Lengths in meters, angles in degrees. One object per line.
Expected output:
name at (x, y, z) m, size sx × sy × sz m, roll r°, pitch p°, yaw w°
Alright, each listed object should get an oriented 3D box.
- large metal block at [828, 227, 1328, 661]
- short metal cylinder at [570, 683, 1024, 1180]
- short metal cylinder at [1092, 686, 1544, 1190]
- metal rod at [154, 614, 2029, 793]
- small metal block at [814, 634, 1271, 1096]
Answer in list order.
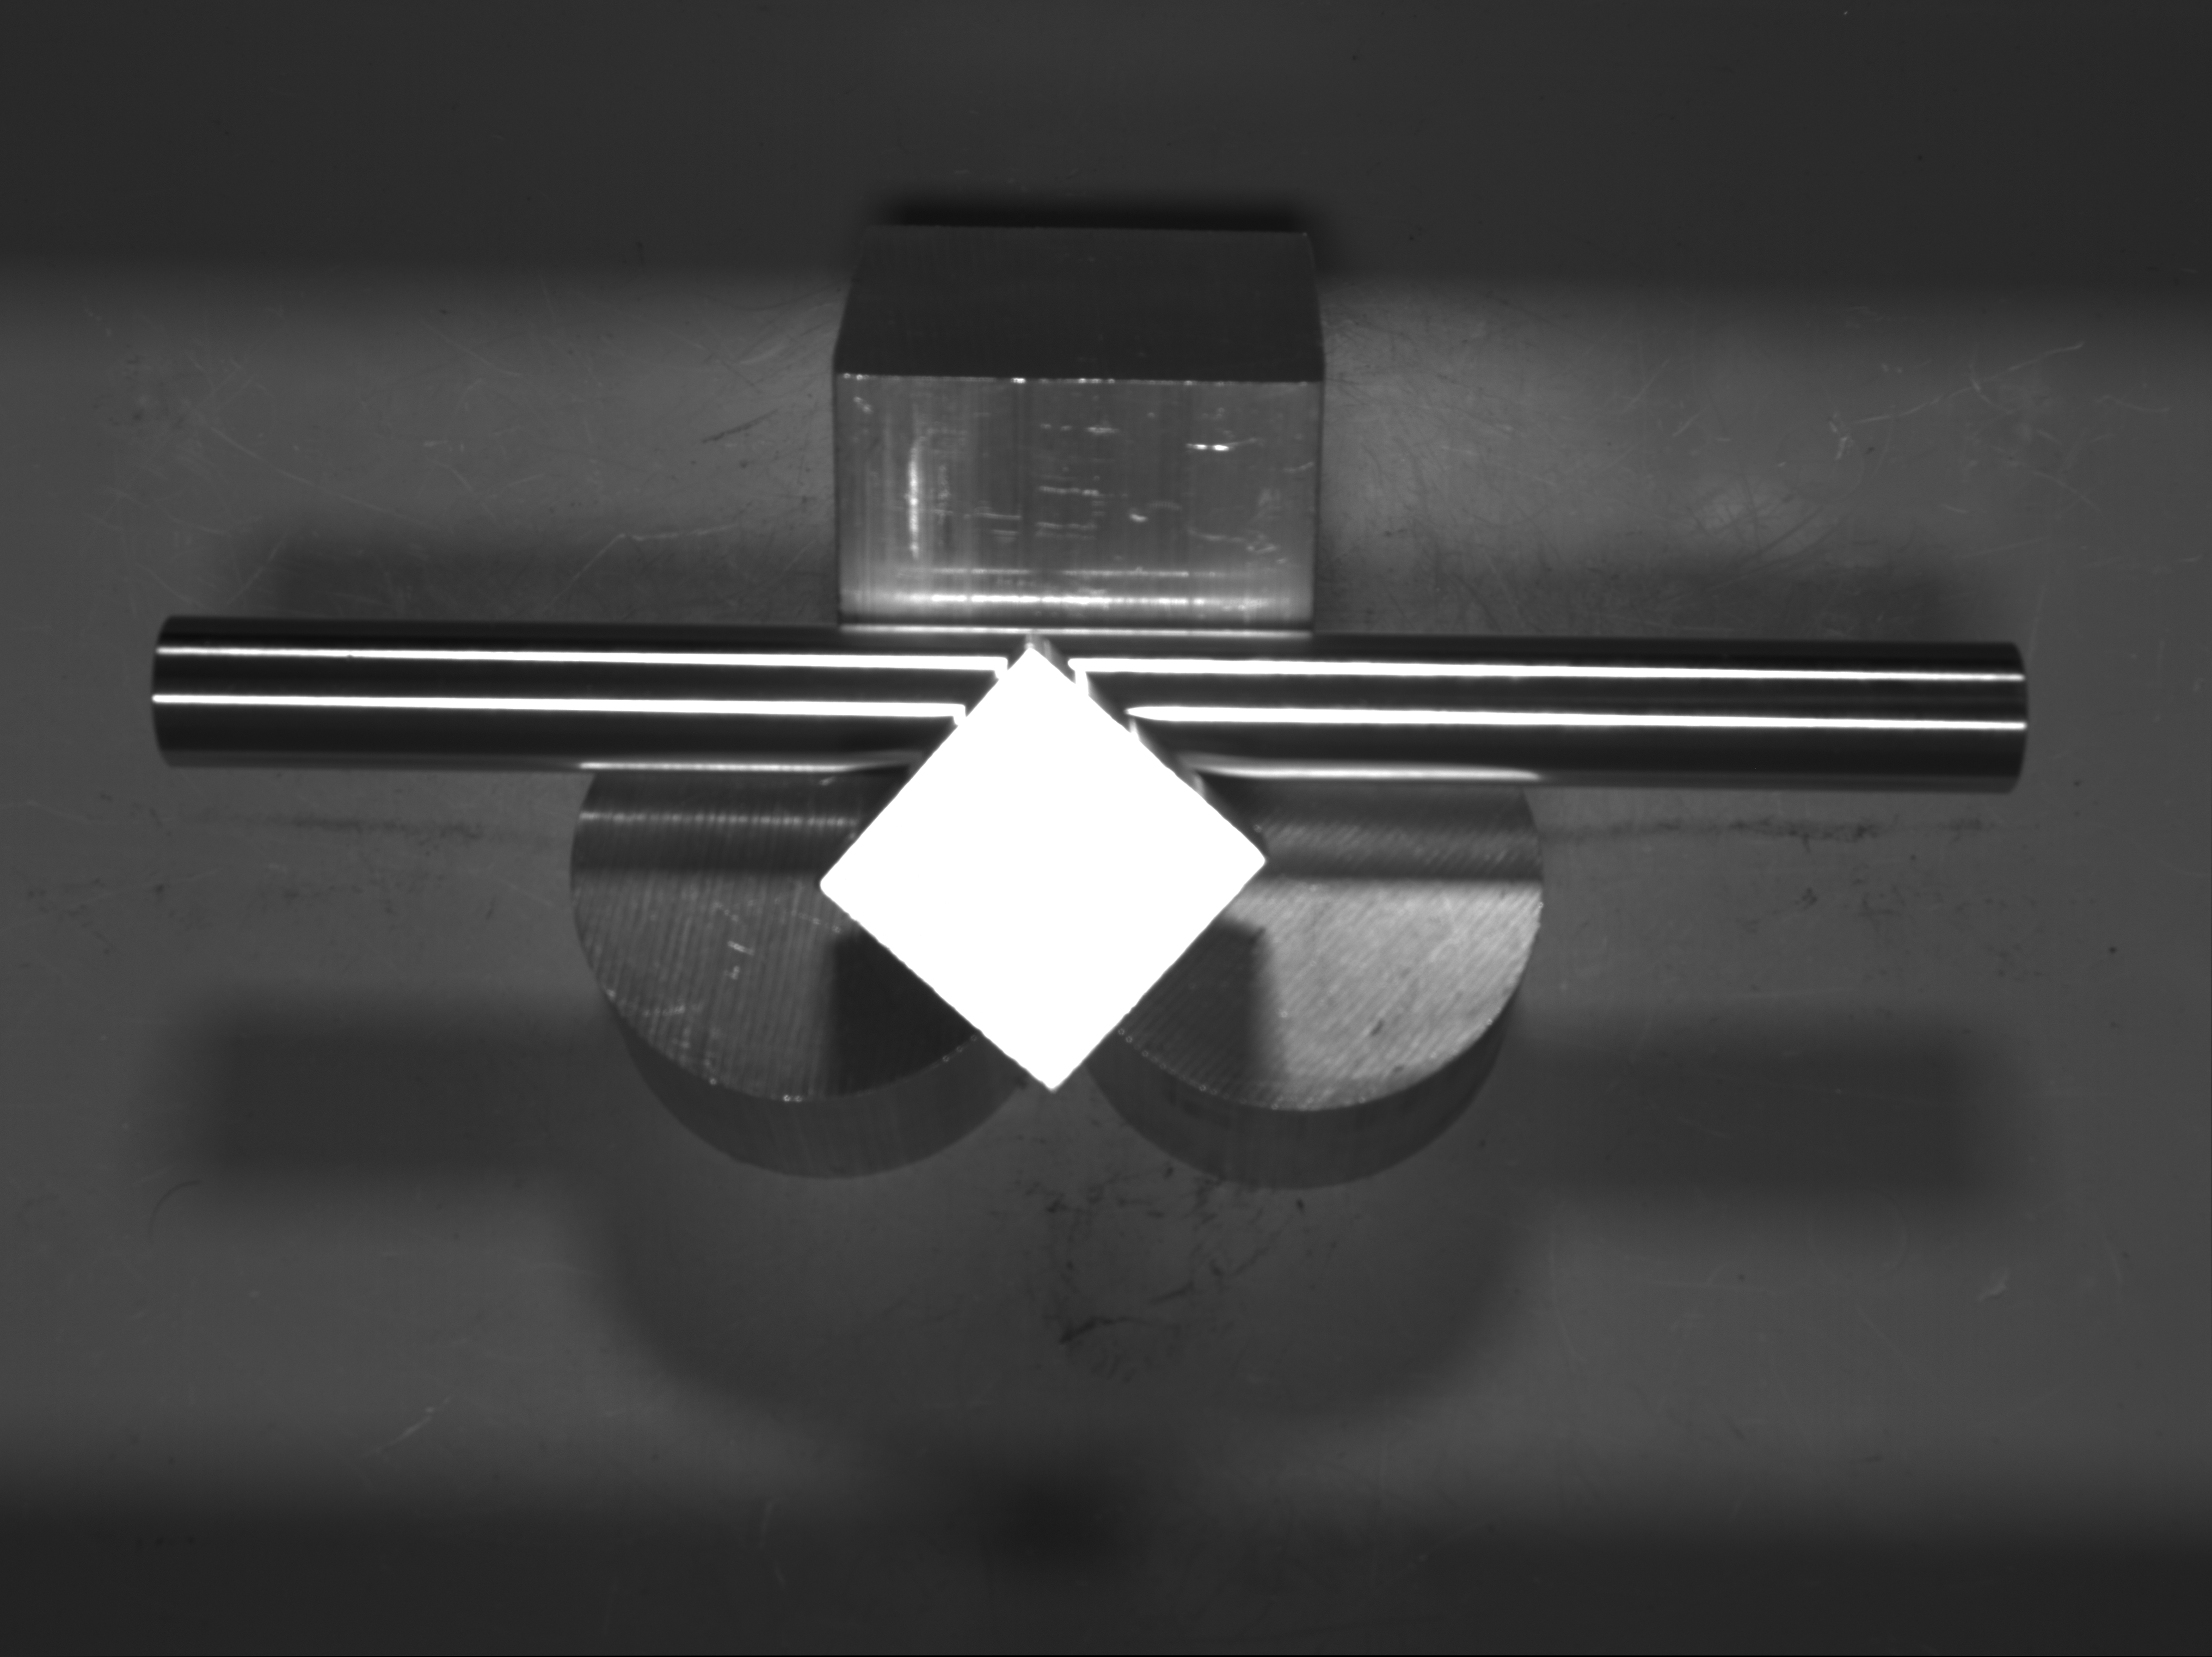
large metal block at (-0.004, -0.067, 0.633) m, size 0.080 × 0.050 × 0.080 m, roll 1°, pitch 26°, yaw 1°
short metal cylinder at (-0.048, 0.015, 0.625) m, size 0.080 × 0.050 × 0.080 m, roll 0°, pitch 70°, yaw 0°
short metal cylinder at (0.032, 0.016, 0.625) m, size 0.080 × 0.050 × 0.080 m, roll 0°, pitch 70°, yaw 0°
metal rod at (-0.002, -0.020, 0.598) m, size 0.300 × 0.025 × 0.025 m, roll 1°, pitch 70°, yaw 0°
small metal block at (-0.010, 0.005, 0.577) m, size 0.050 × 0.025 × 0.050 m, roll 41°, pitch 96°, yaw -5°
